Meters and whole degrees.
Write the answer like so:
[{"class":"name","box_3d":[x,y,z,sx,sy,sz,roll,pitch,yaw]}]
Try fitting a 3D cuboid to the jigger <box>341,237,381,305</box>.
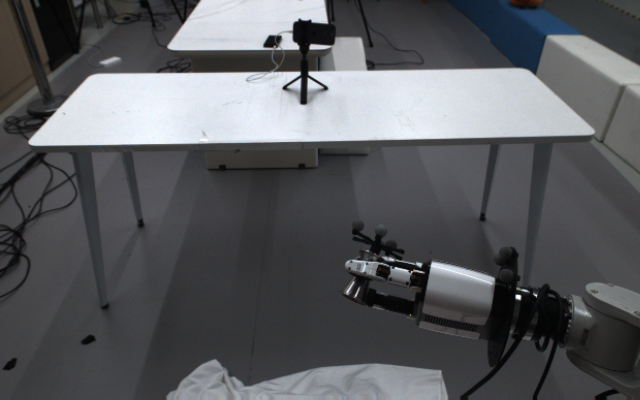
[{"class":"jigger","box_3d":[0.059,0.105,0.674,0.043,0.043,0.071,20,73,24]}]
